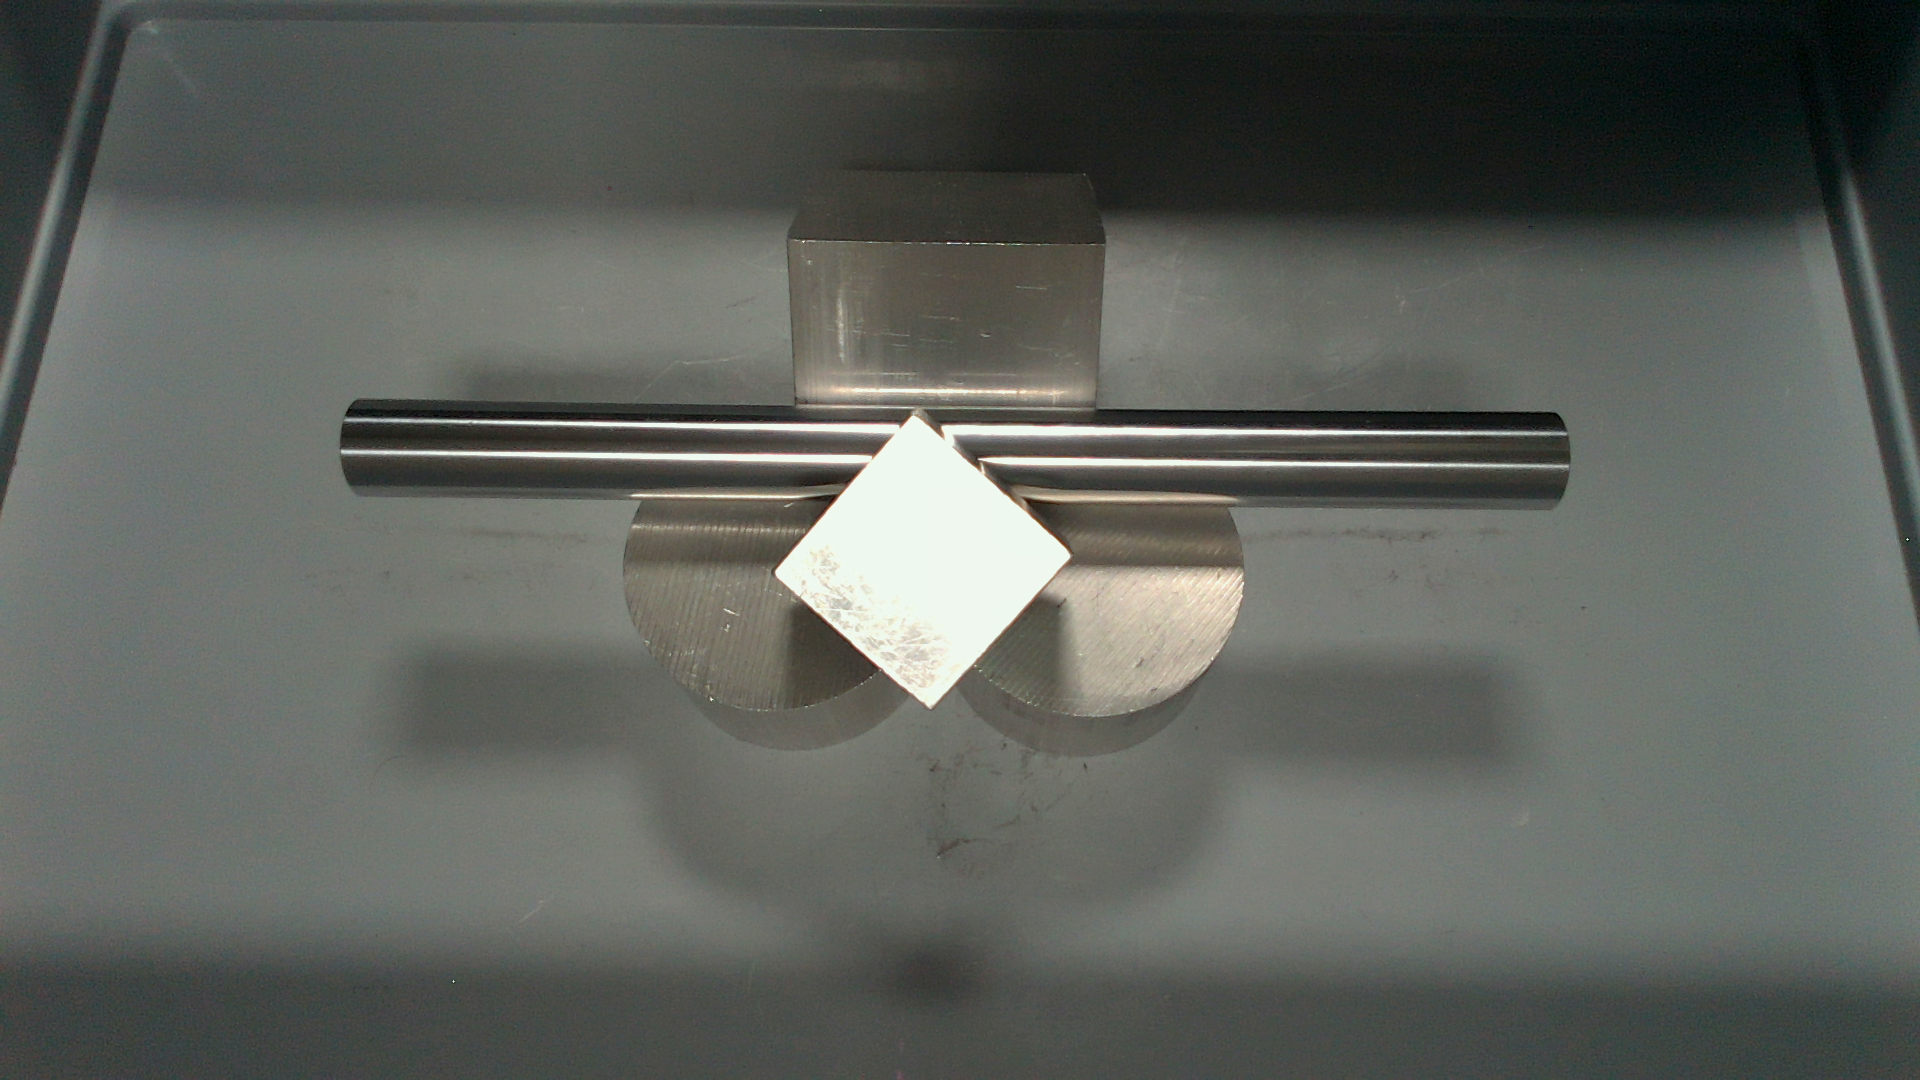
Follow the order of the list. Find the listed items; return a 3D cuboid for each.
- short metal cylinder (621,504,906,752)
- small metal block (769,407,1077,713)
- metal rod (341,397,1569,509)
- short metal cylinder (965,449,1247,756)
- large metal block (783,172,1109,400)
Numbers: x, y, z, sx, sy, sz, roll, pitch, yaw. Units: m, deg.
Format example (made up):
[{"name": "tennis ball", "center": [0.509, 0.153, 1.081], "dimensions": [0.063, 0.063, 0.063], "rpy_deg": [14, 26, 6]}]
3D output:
[{"name": "short metal cylinder", "center": [-0.047, 0.013, 0.376], "dimensions": [0.080, 0.050, 0.080], "rpy_deg": [0, 70, 0]}, {"name": "small metal block", "center": [-0.009, 0.004, 0.327], "dimensions": [0.050, 0.025, 0.050], "rpy_deg": [41, 96, -5]}, {"name": "metal rod", "center": [-0.001, -0.022, 0.348], "dimensions": [0.300, 0.025, 0.025], "rpy_deg": [1, 70, 0]}, {"name": "short metal cylinder", "center": [0.033, 0.015, 0.375], "dimensions": [0.080, 0.050, 0.080], "rpy_deg": [0, 70, 0]}, {"name": "large metal block", "center": [-0.003, -0.069, 0.384], "dimensions": [0.080, 0.050, 0.080], "rpy_deg": [1, 27, 0]}]
